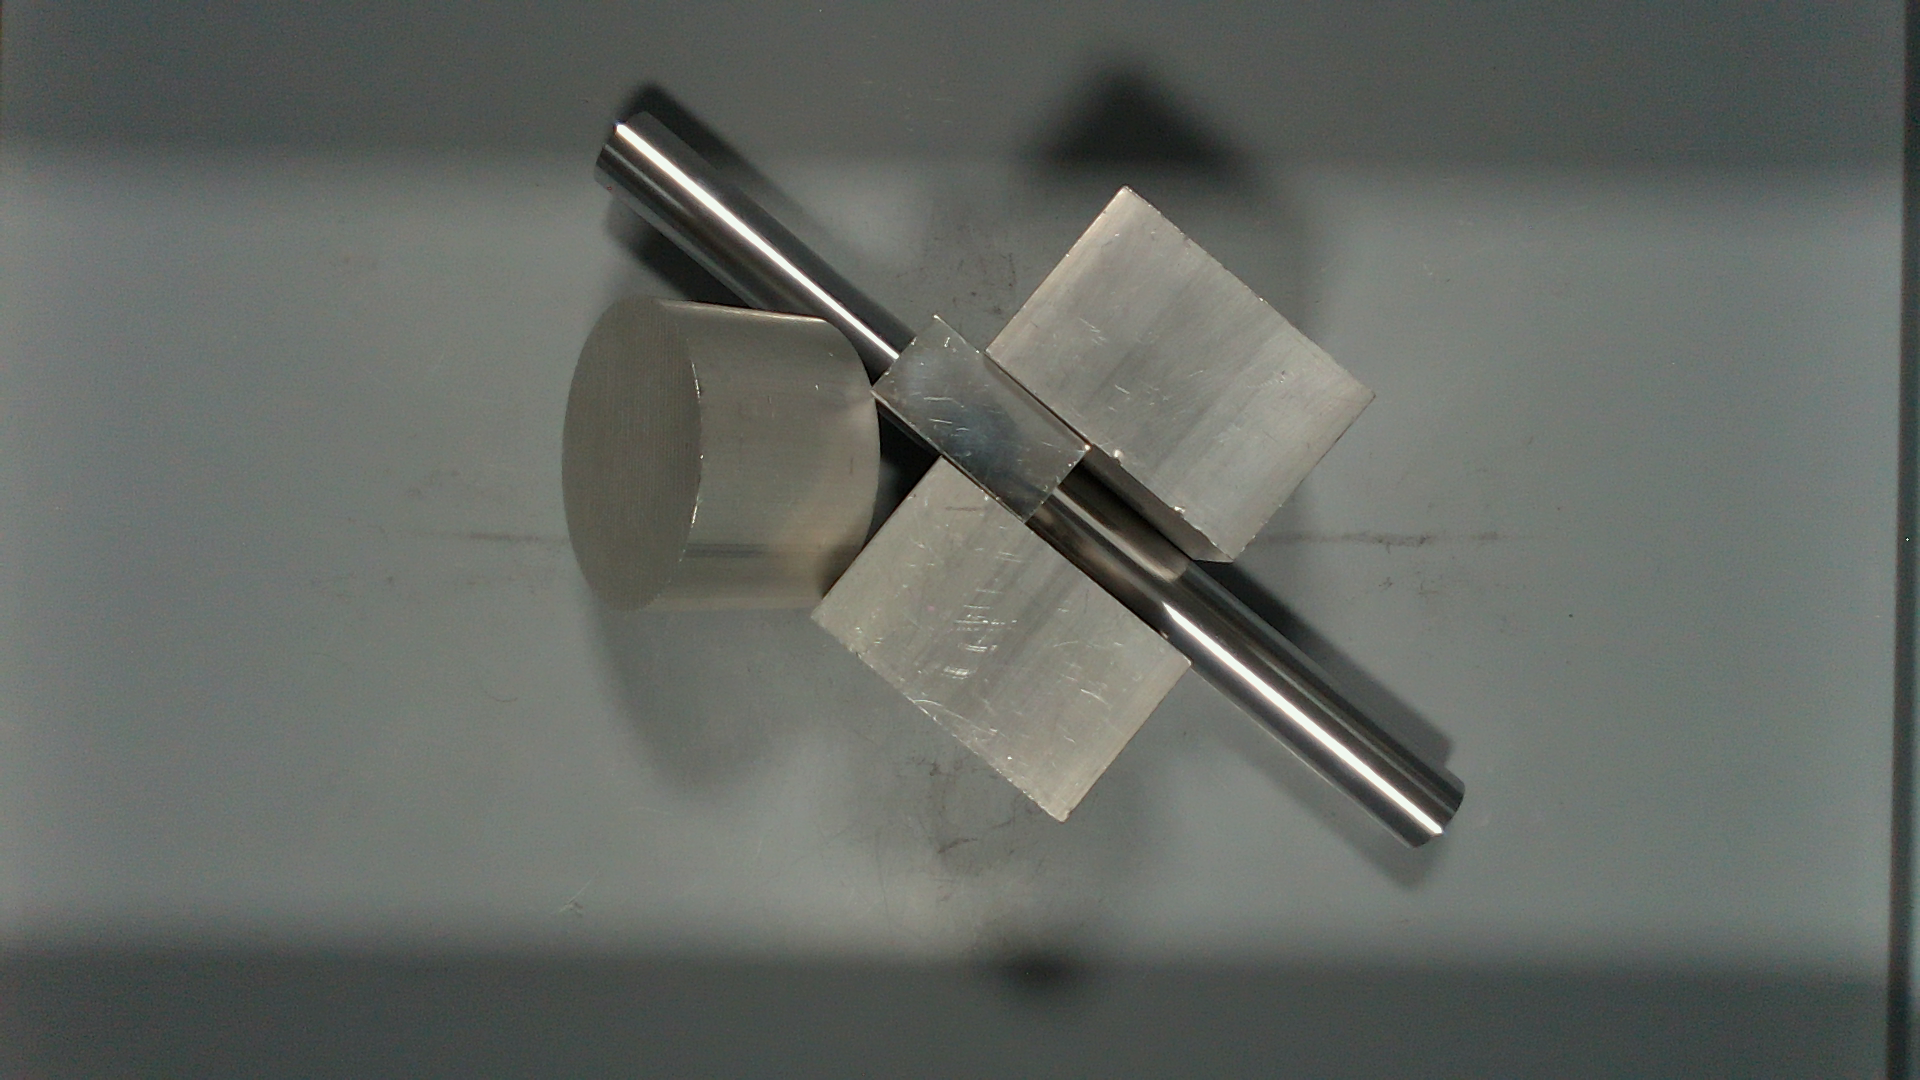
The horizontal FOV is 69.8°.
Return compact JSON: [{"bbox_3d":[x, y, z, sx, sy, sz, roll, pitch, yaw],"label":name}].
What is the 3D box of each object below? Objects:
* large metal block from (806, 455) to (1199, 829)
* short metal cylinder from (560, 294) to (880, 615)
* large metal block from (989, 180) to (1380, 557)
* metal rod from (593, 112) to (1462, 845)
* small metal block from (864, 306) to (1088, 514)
[{"bbox_3d":[0.010,0.024,0.368,0.080,0.080,0.050,39,90,0],"label":"large metal block"},{"bbox_3d":[-0.065,-0.021,0.361,0.050,0.080,0.080,0,90,-39],"label":"short metal cylinder"},{"bbox_3d":[0.054,-0.041,0.368,0.080,0.080,0.050,40,90,0],"label":"large metal block"},{"bbox_3d":[0.019,-0.017,0.395,0.300,0.025,0.025,39,90,0],"label":"metal rod"},{"bbox_3d":[0.004,-0.031,0.359,0.050,0.050,0.025,41,90,0],"label":"small metal block"}]
